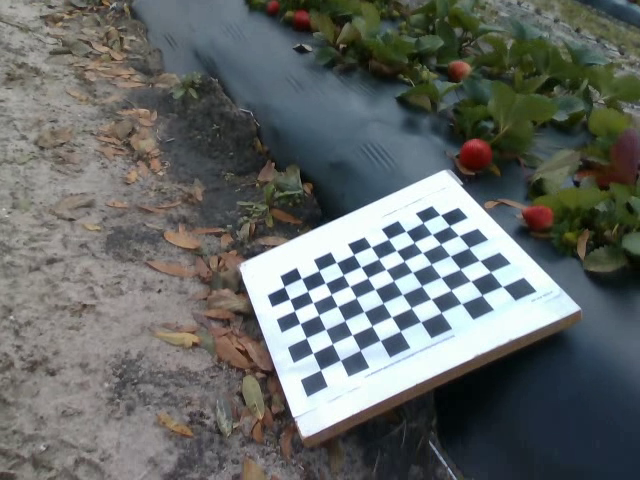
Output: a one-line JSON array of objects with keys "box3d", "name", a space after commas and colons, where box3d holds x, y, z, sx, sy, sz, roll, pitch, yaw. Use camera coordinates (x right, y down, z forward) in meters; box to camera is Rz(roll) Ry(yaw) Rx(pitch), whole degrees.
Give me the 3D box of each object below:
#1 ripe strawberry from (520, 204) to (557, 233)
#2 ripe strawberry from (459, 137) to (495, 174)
[{"box3d": [0.254, -0.029, 0.758, 0.042, 0.037, 0.041, 19, 36, -25], "name": "ripe strawberry"}, {"box3d": [0.212, -0.122, 0.874, 0.046, 0.043, 0.065, -25, -10, 4], "name": "ripe strawberry"}]
